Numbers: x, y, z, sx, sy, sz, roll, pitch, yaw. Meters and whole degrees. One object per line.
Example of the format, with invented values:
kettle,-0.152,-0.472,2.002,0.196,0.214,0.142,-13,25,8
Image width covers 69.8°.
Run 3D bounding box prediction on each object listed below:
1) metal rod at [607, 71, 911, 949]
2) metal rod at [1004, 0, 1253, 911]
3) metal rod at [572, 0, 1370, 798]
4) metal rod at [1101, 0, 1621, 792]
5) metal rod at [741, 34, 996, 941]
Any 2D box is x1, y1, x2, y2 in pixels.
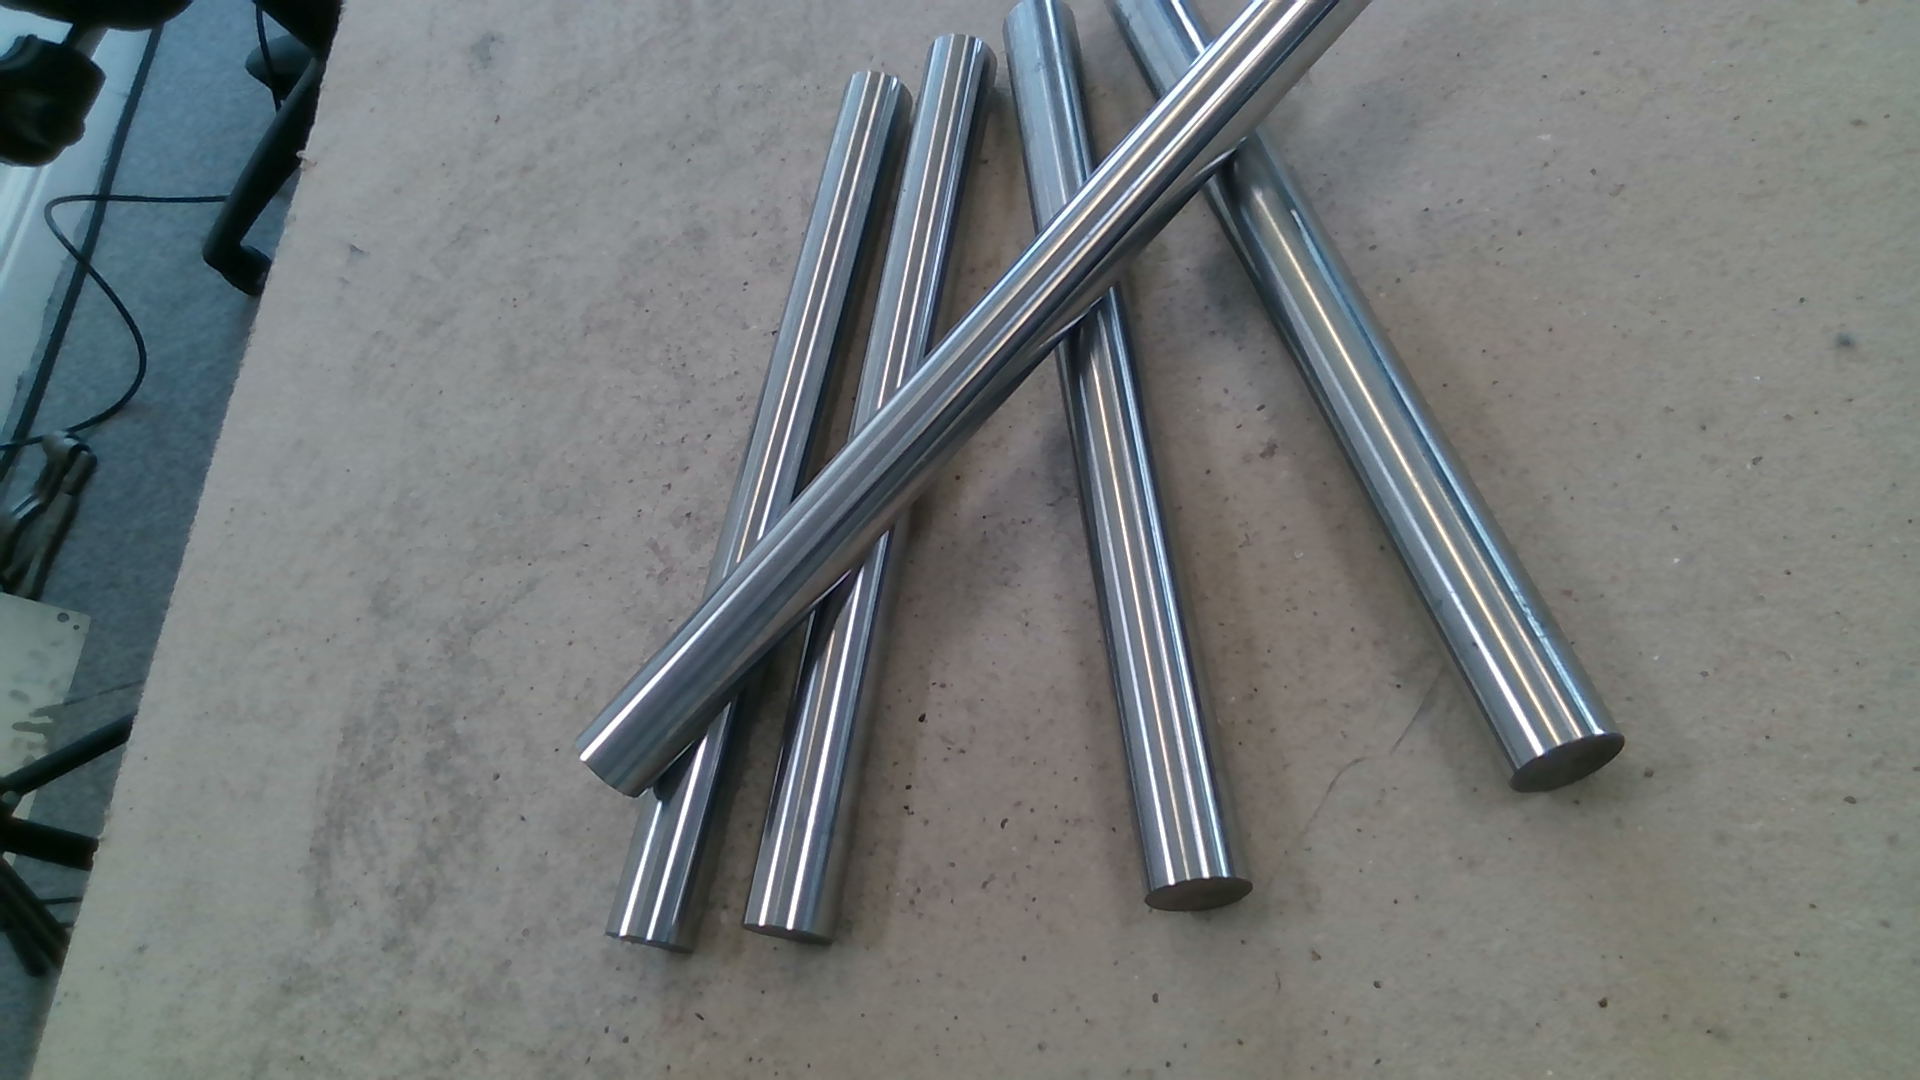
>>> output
metal rod,-0.058,-0.024,0.441,0.025,0.025,0.299,-2,65,31
metal rod,0.041,-0.046,0.393,0.025,0.025,0.299,-20,57,22
metal rod,0.002,-0.047,0.383,0.300,0.025,0.025,-47,51,1
metal rod,0.092,-0.071,0.375,0.025,0.025,0.299,-28,54,16
metal rod,-0.023,-0.032,0.424,0.025,0.025,0.299,-4,64,30
